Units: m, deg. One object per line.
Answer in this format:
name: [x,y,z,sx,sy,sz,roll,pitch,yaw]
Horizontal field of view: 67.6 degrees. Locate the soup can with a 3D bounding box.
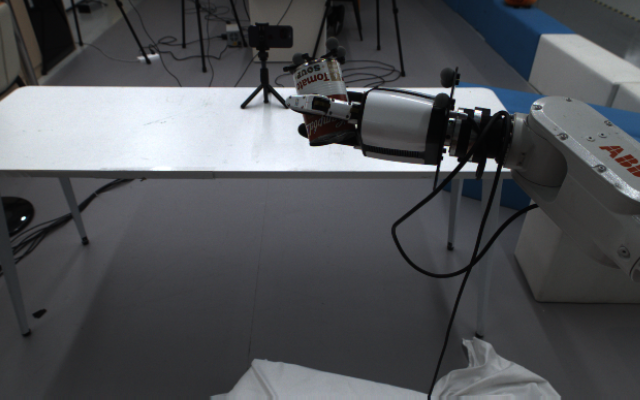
soup can: [0.007,-0.131,0.658,0.067,0.101,0.067,-14,-2,-1]
